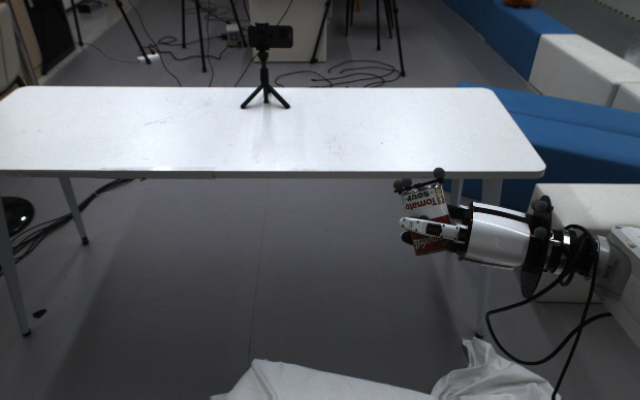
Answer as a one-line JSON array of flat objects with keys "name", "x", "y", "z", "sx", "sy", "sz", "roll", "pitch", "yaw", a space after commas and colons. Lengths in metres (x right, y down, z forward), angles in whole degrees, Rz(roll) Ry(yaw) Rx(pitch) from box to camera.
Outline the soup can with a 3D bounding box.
[{"name": "soup can", "x": 0.173, "y": 0.030, "z": 0.769, "sx": 0.067, "sy": 0.101, "sz": 0.067, "roll": -14, "pitch": -2, "yaw": -1}]
